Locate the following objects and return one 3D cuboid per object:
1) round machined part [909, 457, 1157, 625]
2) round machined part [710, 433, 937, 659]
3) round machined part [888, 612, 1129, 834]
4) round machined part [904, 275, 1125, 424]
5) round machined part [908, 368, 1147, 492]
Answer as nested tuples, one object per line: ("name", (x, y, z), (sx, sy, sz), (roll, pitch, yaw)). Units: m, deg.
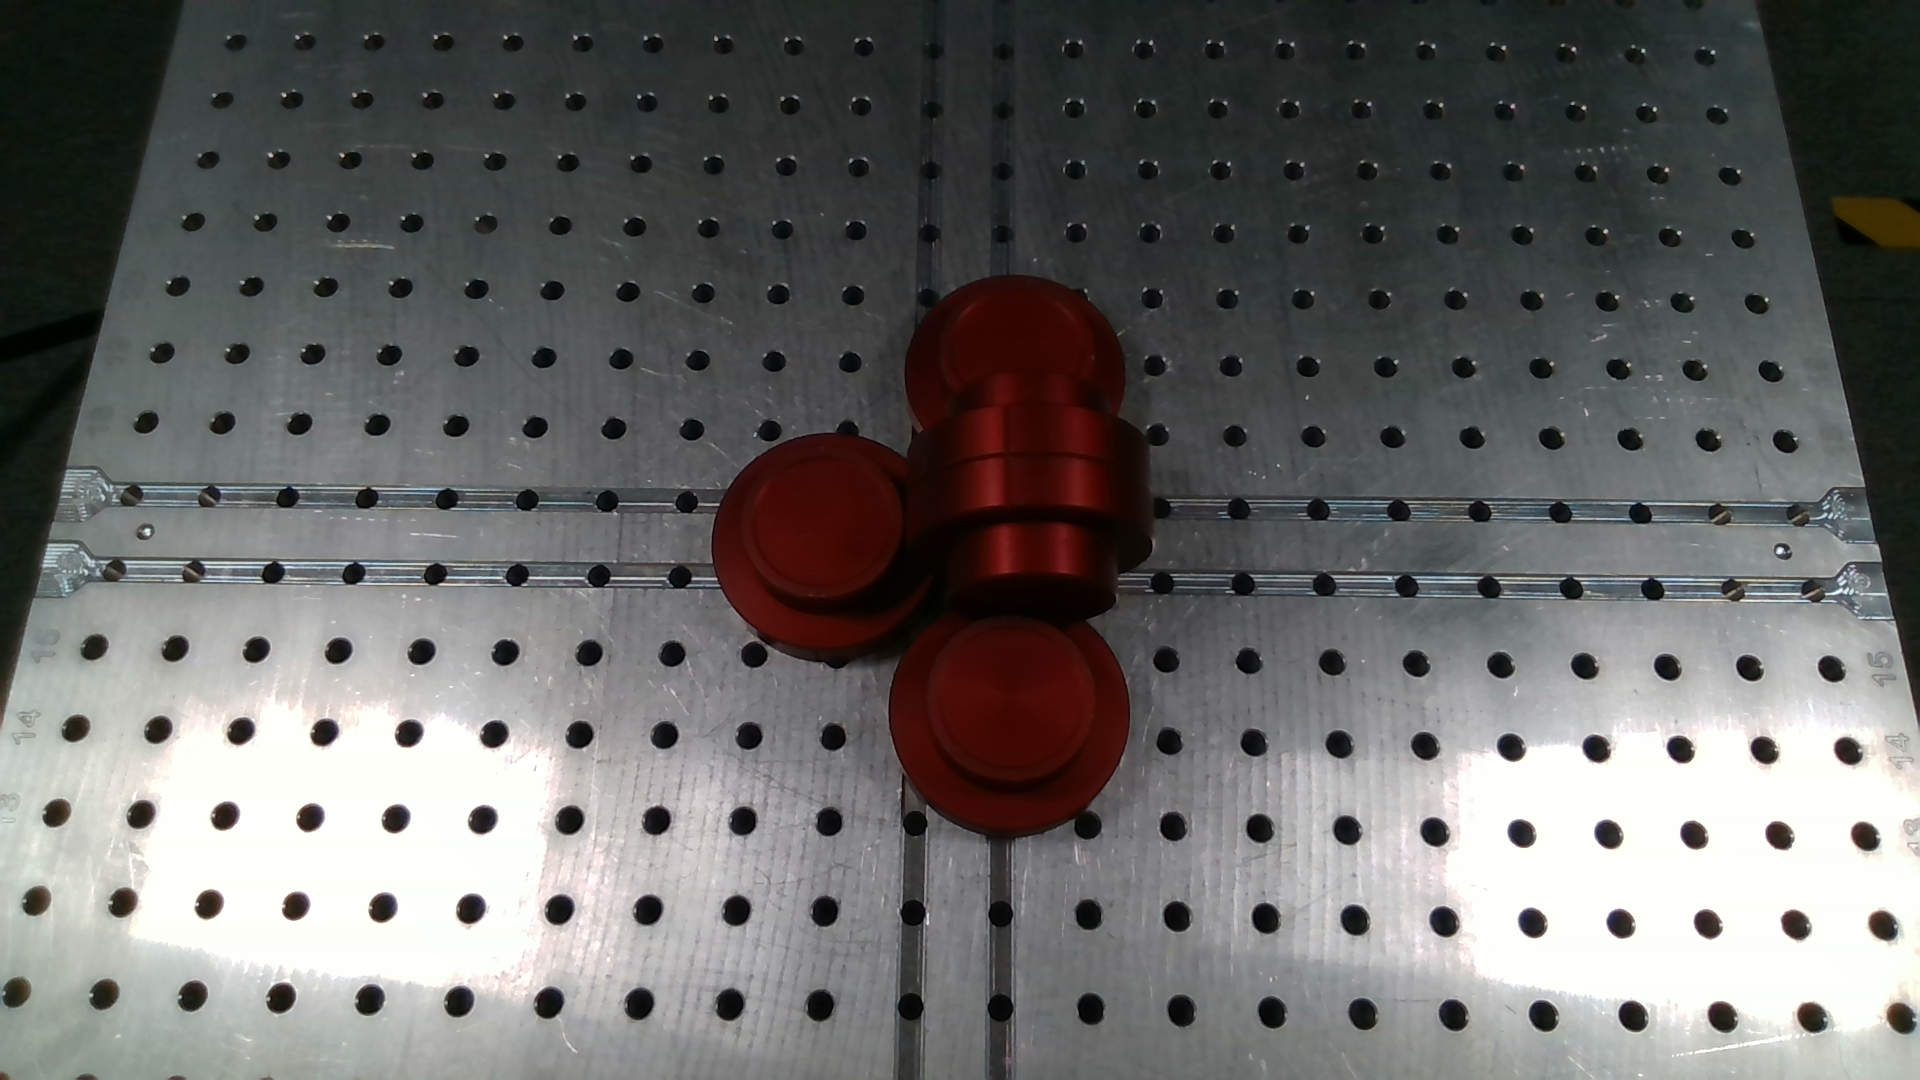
("round machined part", (0.029, 0.005, 0.544), (0.098, 0.098, 0.042), (-1, 70, 0))
("round machined part", (-0.057, -0.001, 0.582), (0.098, 0.042, 0.098), (0, 70, 0))
("round machined part", (0.020, 0.068, 0.557), (0.098, 0.042, 0.098), (0, 70, 0))
("round machined part", (0.024, -0.076, 0.608), (0.098, 0.042, 0.098), (0, 70, 0))
("round machined part", (0.028, -0.036, 0.558), (0.098, 0.098, 0.042), (1, 70, 0))
